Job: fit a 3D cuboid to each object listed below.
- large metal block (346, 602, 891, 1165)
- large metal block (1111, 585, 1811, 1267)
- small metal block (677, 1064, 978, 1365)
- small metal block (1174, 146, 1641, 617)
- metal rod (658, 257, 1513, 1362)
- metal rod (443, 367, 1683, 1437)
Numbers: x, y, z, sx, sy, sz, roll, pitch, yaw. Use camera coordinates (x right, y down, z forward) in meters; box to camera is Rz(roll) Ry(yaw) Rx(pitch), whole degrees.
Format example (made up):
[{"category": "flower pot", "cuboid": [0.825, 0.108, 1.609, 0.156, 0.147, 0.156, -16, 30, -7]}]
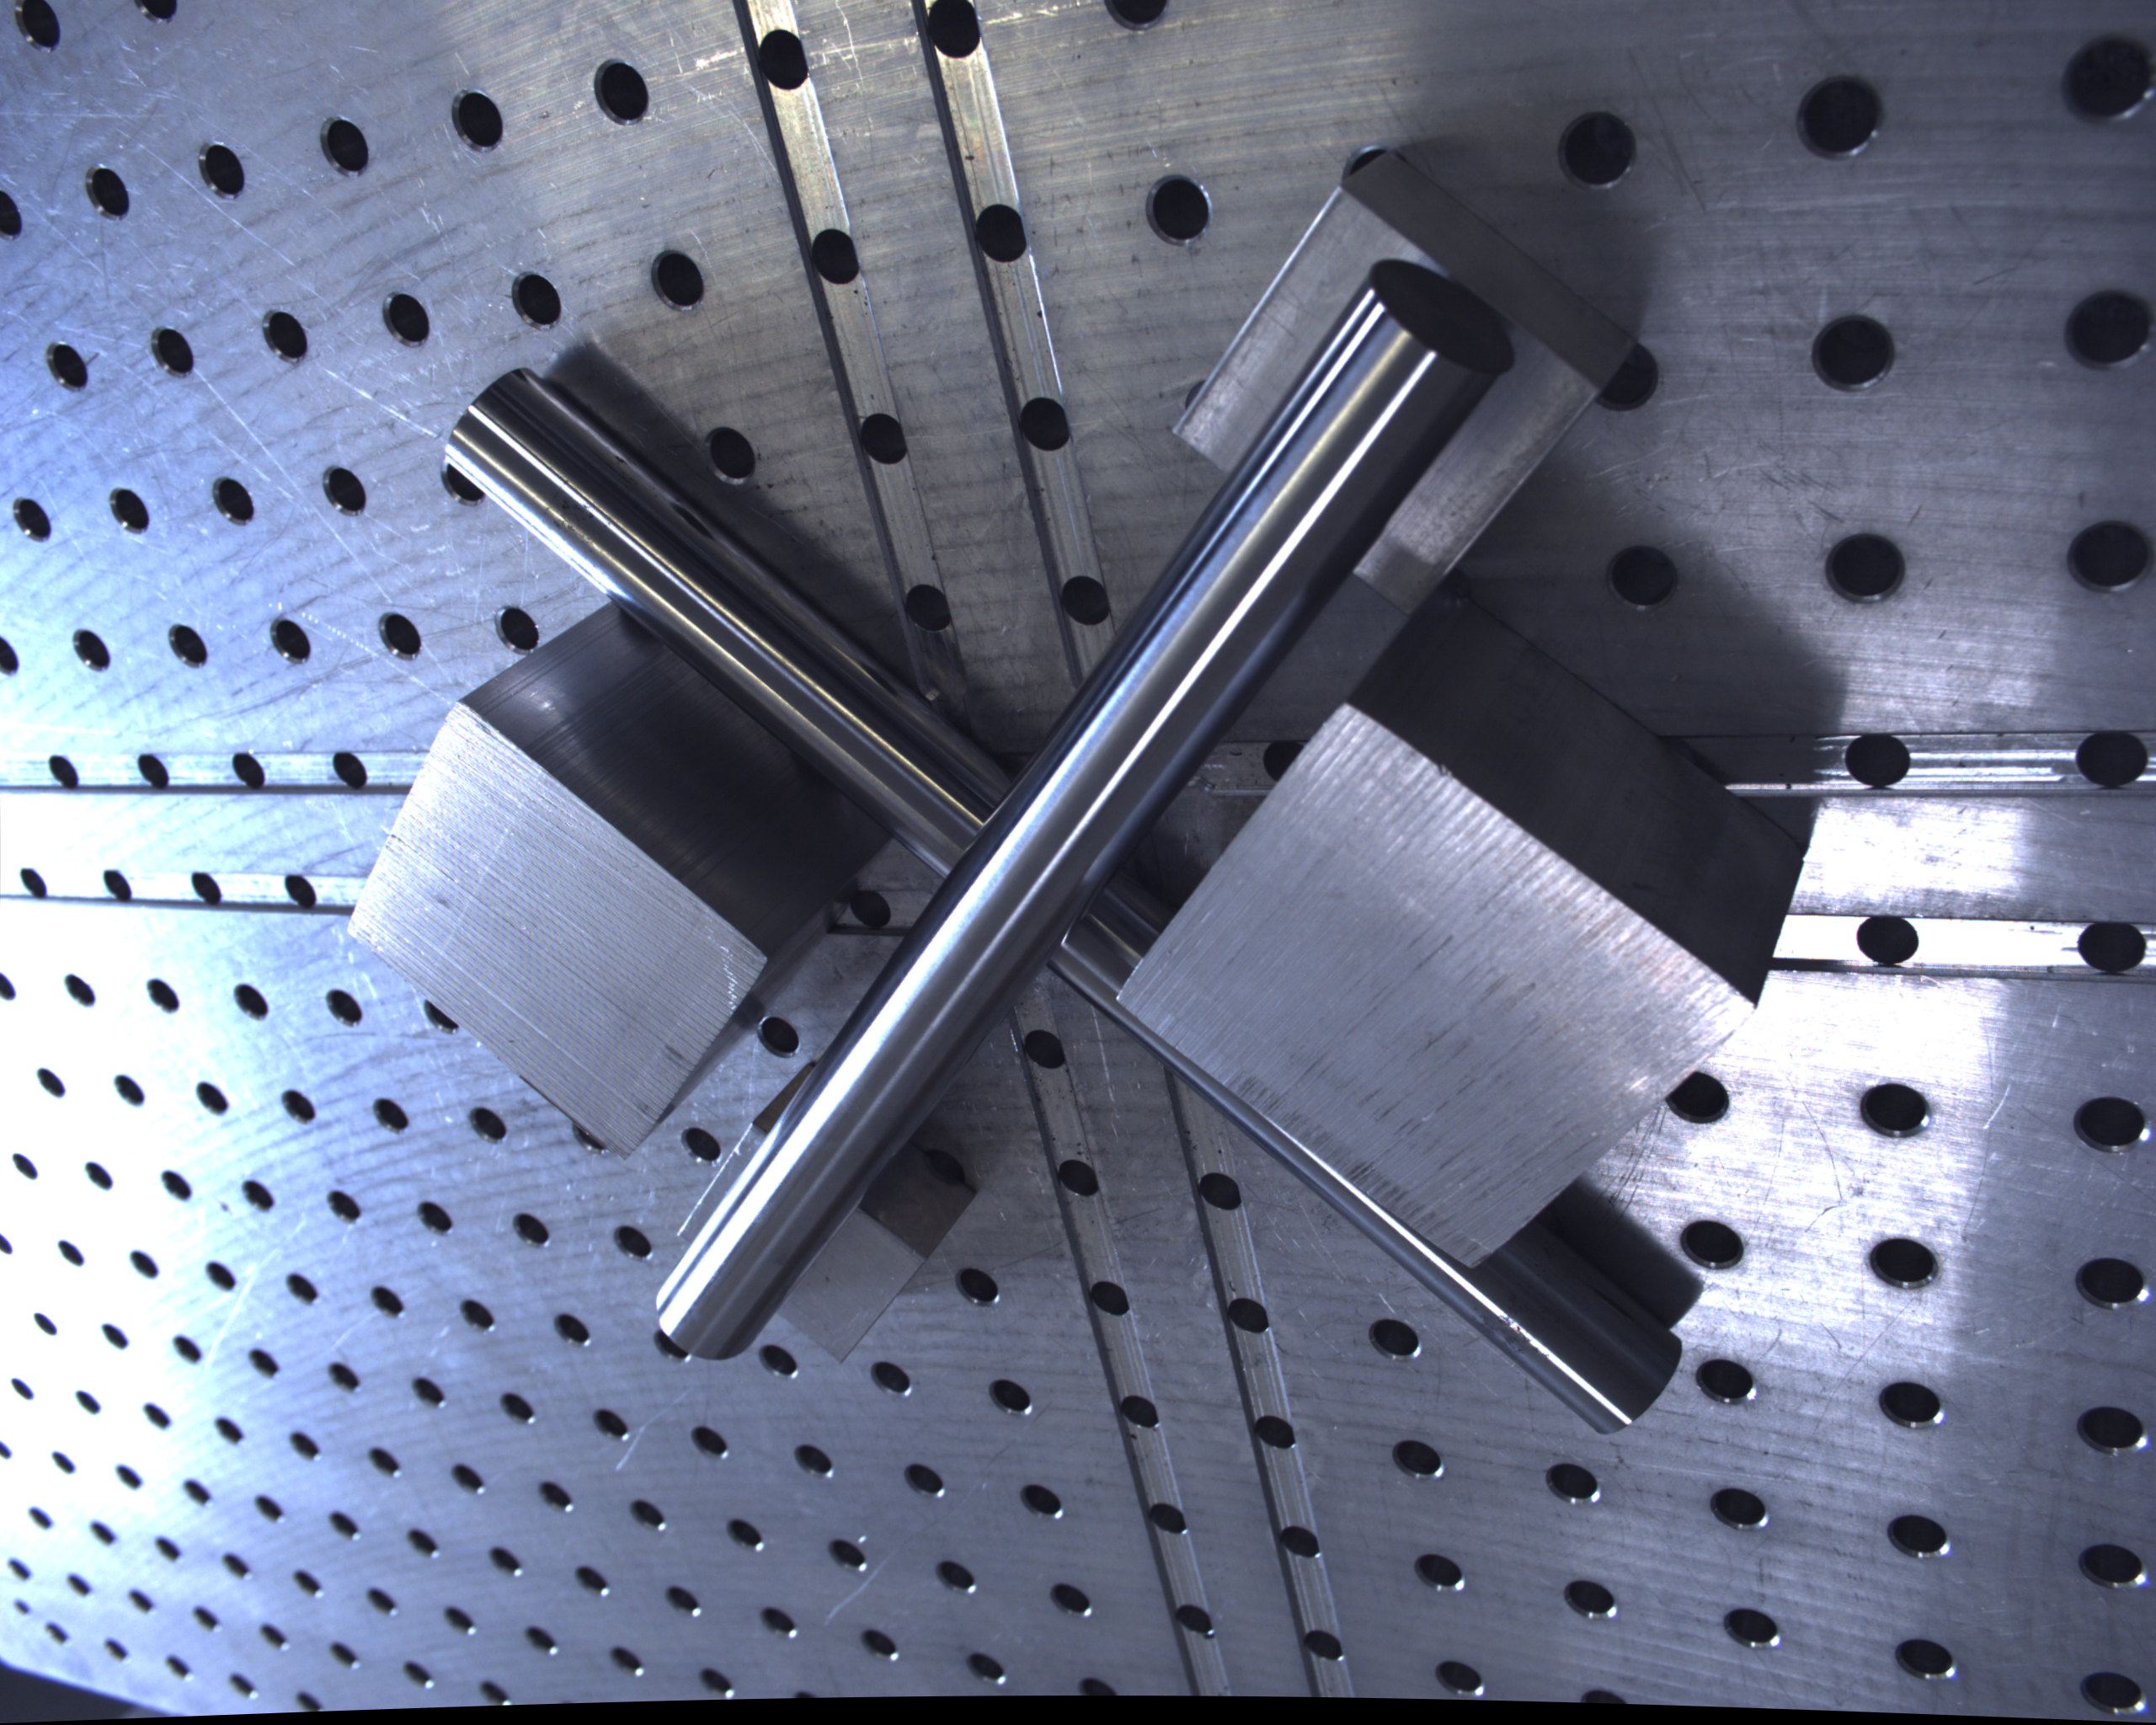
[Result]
[{"category": "large metal block", "cuboid": [-0.099, 0.005, 0.451, 0.080, 0.050, 0.080, 40, 129, 1]}, {"category": "large metal block", "cuboid": [0.066, 0.011, 0.367, 0.080, 0.050, 0.080, 37, 129, 3]}, {"category": "small metal block", "cuboid": [-0.060, 0.084, 0.495, 0.050, 0.025, 0.050, 38, 129, 2]}, {"category": "small metal block", "cuboid": [0.052, -0.077, 0.337, 0.050, 0.025, 0.050, 39, 129, 1]}, {"category": "metal rod", "cuboid": [-0.017, 0.013, 0.395, 0.025, 0.025, 0.298, 39, 129, 2]}, {"category": "metal rod", "cuboid": [-0.003, 0.008, 0.416, 0.300, 0.025, 0.025, 40, 129, 0]}]
